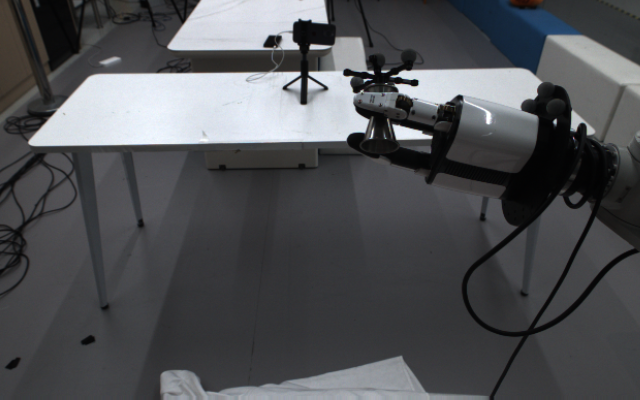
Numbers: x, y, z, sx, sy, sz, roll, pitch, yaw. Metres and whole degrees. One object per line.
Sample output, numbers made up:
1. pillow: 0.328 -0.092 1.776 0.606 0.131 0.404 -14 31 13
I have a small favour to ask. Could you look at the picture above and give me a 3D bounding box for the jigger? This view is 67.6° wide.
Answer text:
1. jigger: 0.067 -0.092 0.548 0.043 0.043 0.071 3 75 1
